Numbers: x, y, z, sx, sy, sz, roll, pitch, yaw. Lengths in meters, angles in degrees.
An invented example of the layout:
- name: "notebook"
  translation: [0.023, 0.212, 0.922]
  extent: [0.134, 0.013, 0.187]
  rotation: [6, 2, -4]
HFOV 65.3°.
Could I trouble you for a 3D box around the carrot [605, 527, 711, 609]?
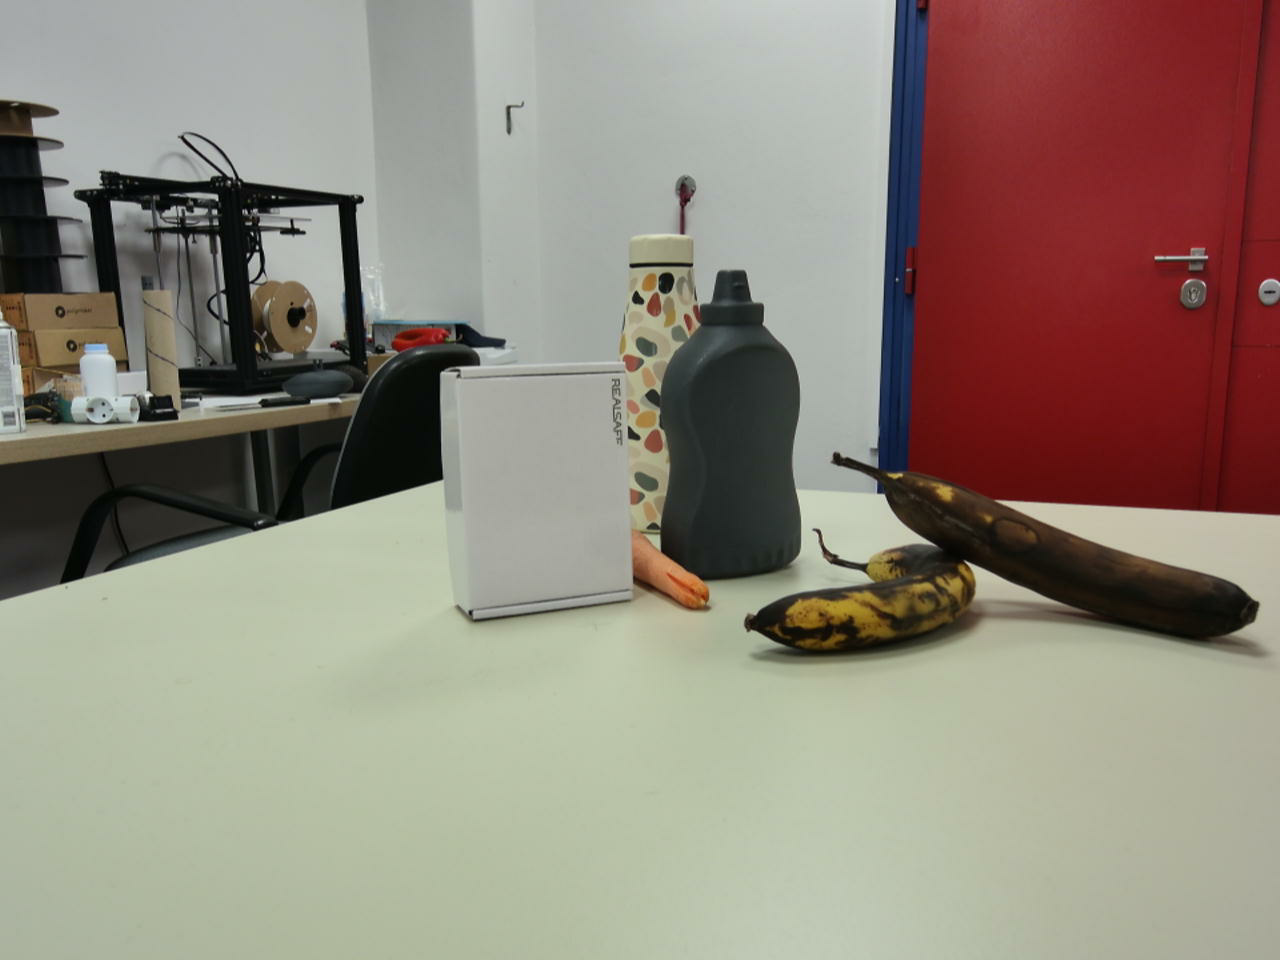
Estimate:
- name: "carrot"
  translation: [0.010, 0.055, 0.654]
  extent: [0.030, 0.032, 0.136]
  rotation: [-2, 8, -22]
